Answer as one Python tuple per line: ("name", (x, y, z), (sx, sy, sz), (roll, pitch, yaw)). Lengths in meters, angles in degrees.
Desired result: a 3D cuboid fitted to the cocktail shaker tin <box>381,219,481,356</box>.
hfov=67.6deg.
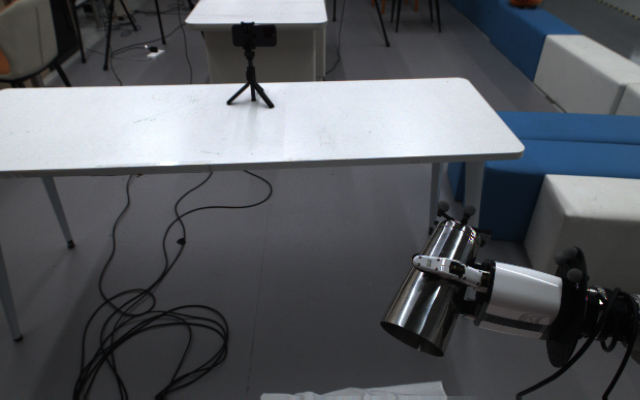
("cocktail shaker tin", (0.162, 0.112, 0.666), (0.093, 0.093, 0.170), (20, 67, 24))
